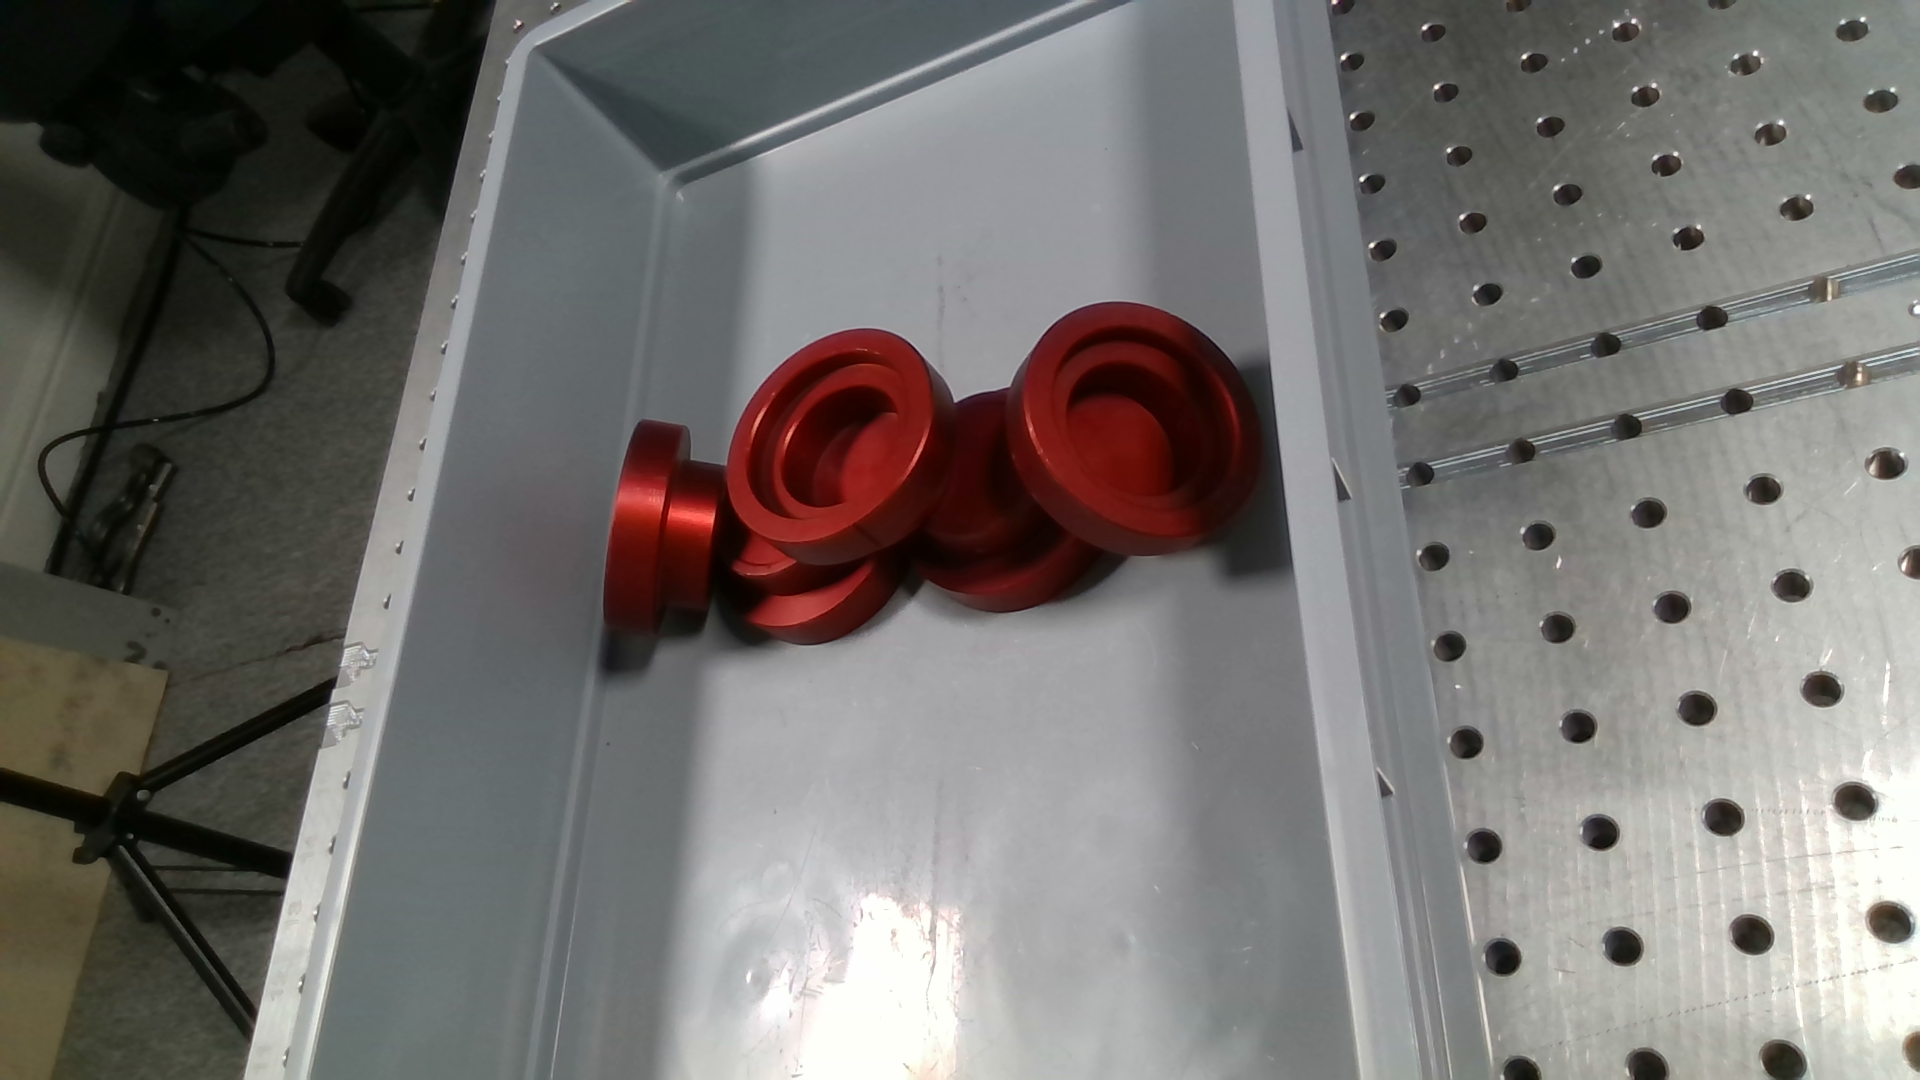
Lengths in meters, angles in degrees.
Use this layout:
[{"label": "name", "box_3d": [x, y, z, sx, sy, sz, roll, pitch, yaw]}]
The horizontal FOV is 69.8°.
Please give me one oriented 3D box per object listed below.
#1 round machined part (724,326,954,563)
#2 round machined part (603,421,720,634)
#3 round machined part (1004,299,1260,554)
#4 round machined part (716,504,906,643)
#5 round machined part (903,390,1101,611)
[{"label": "round machined part", "box_3d": [-0.045, -0.035, 0.563, 0.098, 0.042, 0.098, -14, 59, 25]}, {"label": "round machined part", "box_3d": [-0.133, -0.004, 0.634, 0.042, 0.098, 0.098, 9, 65, -6]}, {"label": "round machined part", "box_3d": [0.062, -0.040, 0.532, 0.042, 0.098, 0.098, 132, 149, -61]}, {"label": "round machined part", "box_3d": [-0.071, -0.006, 0.619, 0.098, 0.042, 0.098, -14, 59, 25]}, {"label": "round machined part", "box_3d": [0.016, -0.023, 0.575, 0.098, 0.042, 0.098, -14, 59, 25]}]
